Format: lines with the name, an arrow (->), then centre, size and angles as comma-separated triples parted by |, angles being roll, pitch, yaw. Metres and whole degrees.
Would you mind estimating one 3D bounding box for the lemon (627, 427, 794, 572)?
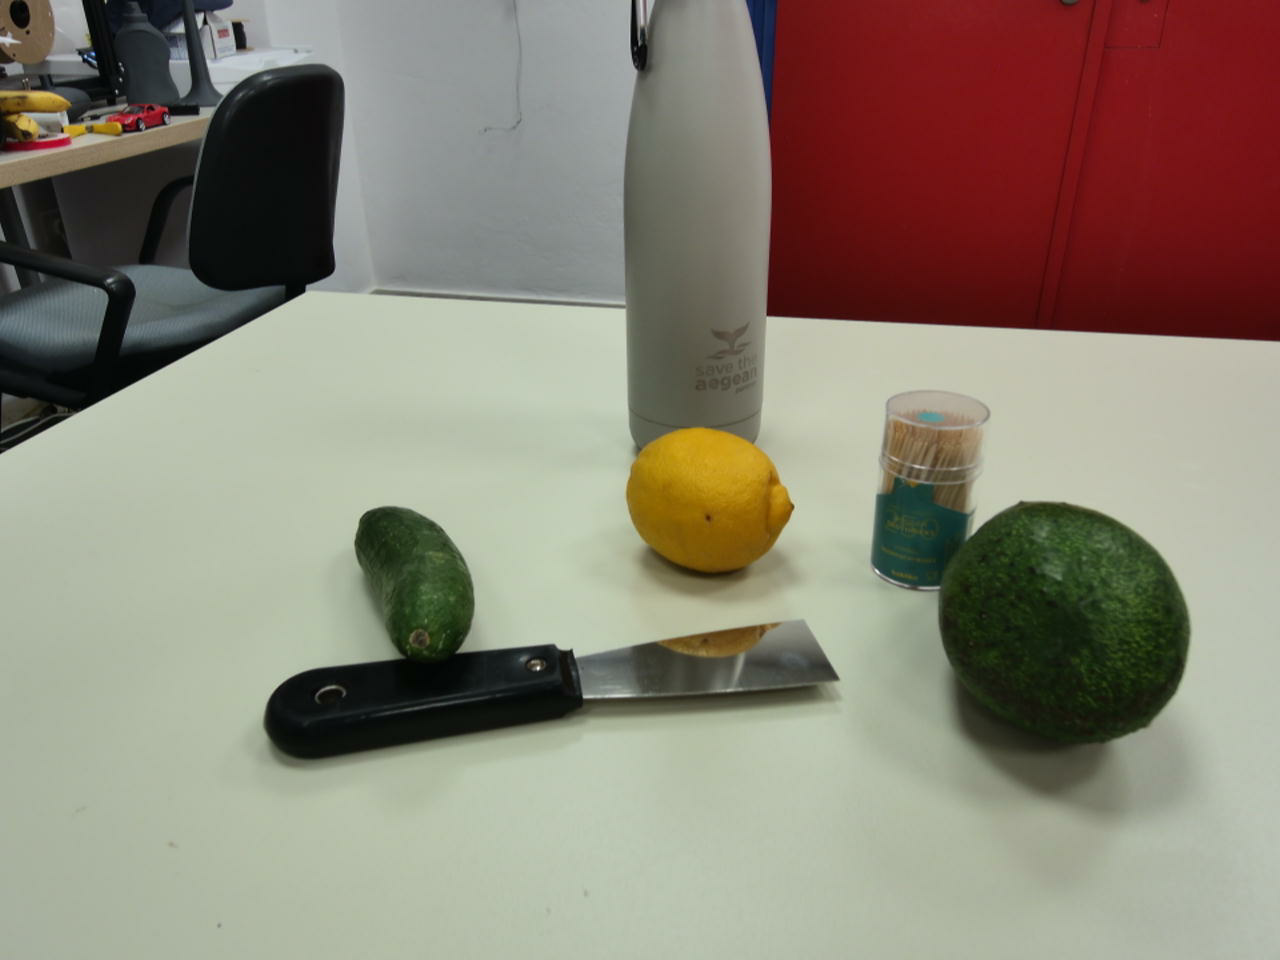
lemon -> 0.028, 0.009, 0.424 | 0.060, 0.059, 0.067 | -16, 28, -31
